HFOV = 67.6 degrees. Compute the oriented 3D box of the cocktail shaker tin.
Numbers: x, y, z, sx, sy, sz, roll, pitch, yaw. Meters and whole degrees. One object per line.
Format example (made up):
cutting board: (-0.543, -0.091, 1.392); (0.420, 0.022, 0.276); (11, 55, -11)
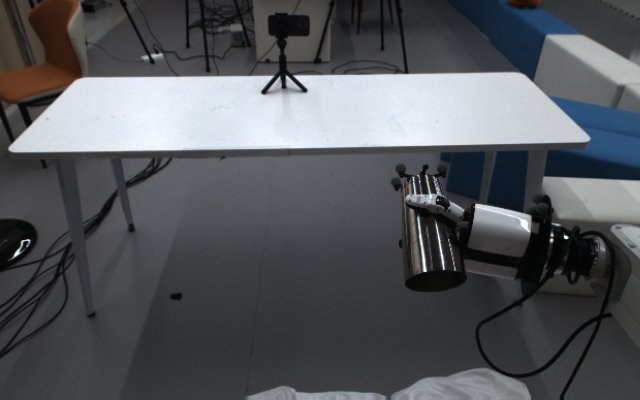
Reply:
cocktail shaker tin: (0.168, 0.046, 0.755); (0.093, 0.093, 0.170); (0, 59, -3)
